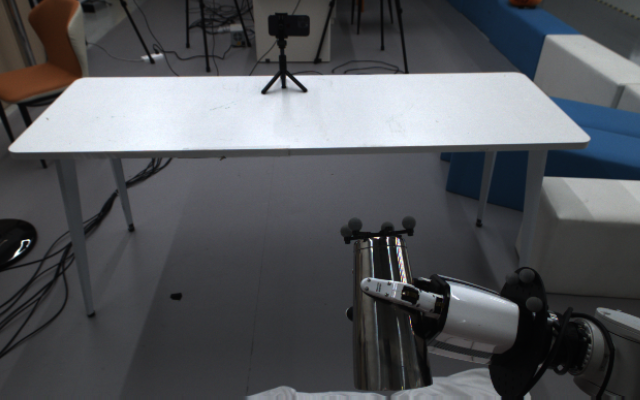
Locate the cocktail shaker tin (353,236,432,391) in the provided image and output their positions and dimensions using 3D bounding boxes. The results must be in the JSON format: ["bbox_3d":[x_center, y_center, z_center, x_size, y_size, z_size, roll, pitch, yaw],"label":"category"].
[{"bbox_3d":[0.081,0.135,0.587,0.093,0.093,0.170,-3,76,-7],"label":"cocktail shaker tin"}]
